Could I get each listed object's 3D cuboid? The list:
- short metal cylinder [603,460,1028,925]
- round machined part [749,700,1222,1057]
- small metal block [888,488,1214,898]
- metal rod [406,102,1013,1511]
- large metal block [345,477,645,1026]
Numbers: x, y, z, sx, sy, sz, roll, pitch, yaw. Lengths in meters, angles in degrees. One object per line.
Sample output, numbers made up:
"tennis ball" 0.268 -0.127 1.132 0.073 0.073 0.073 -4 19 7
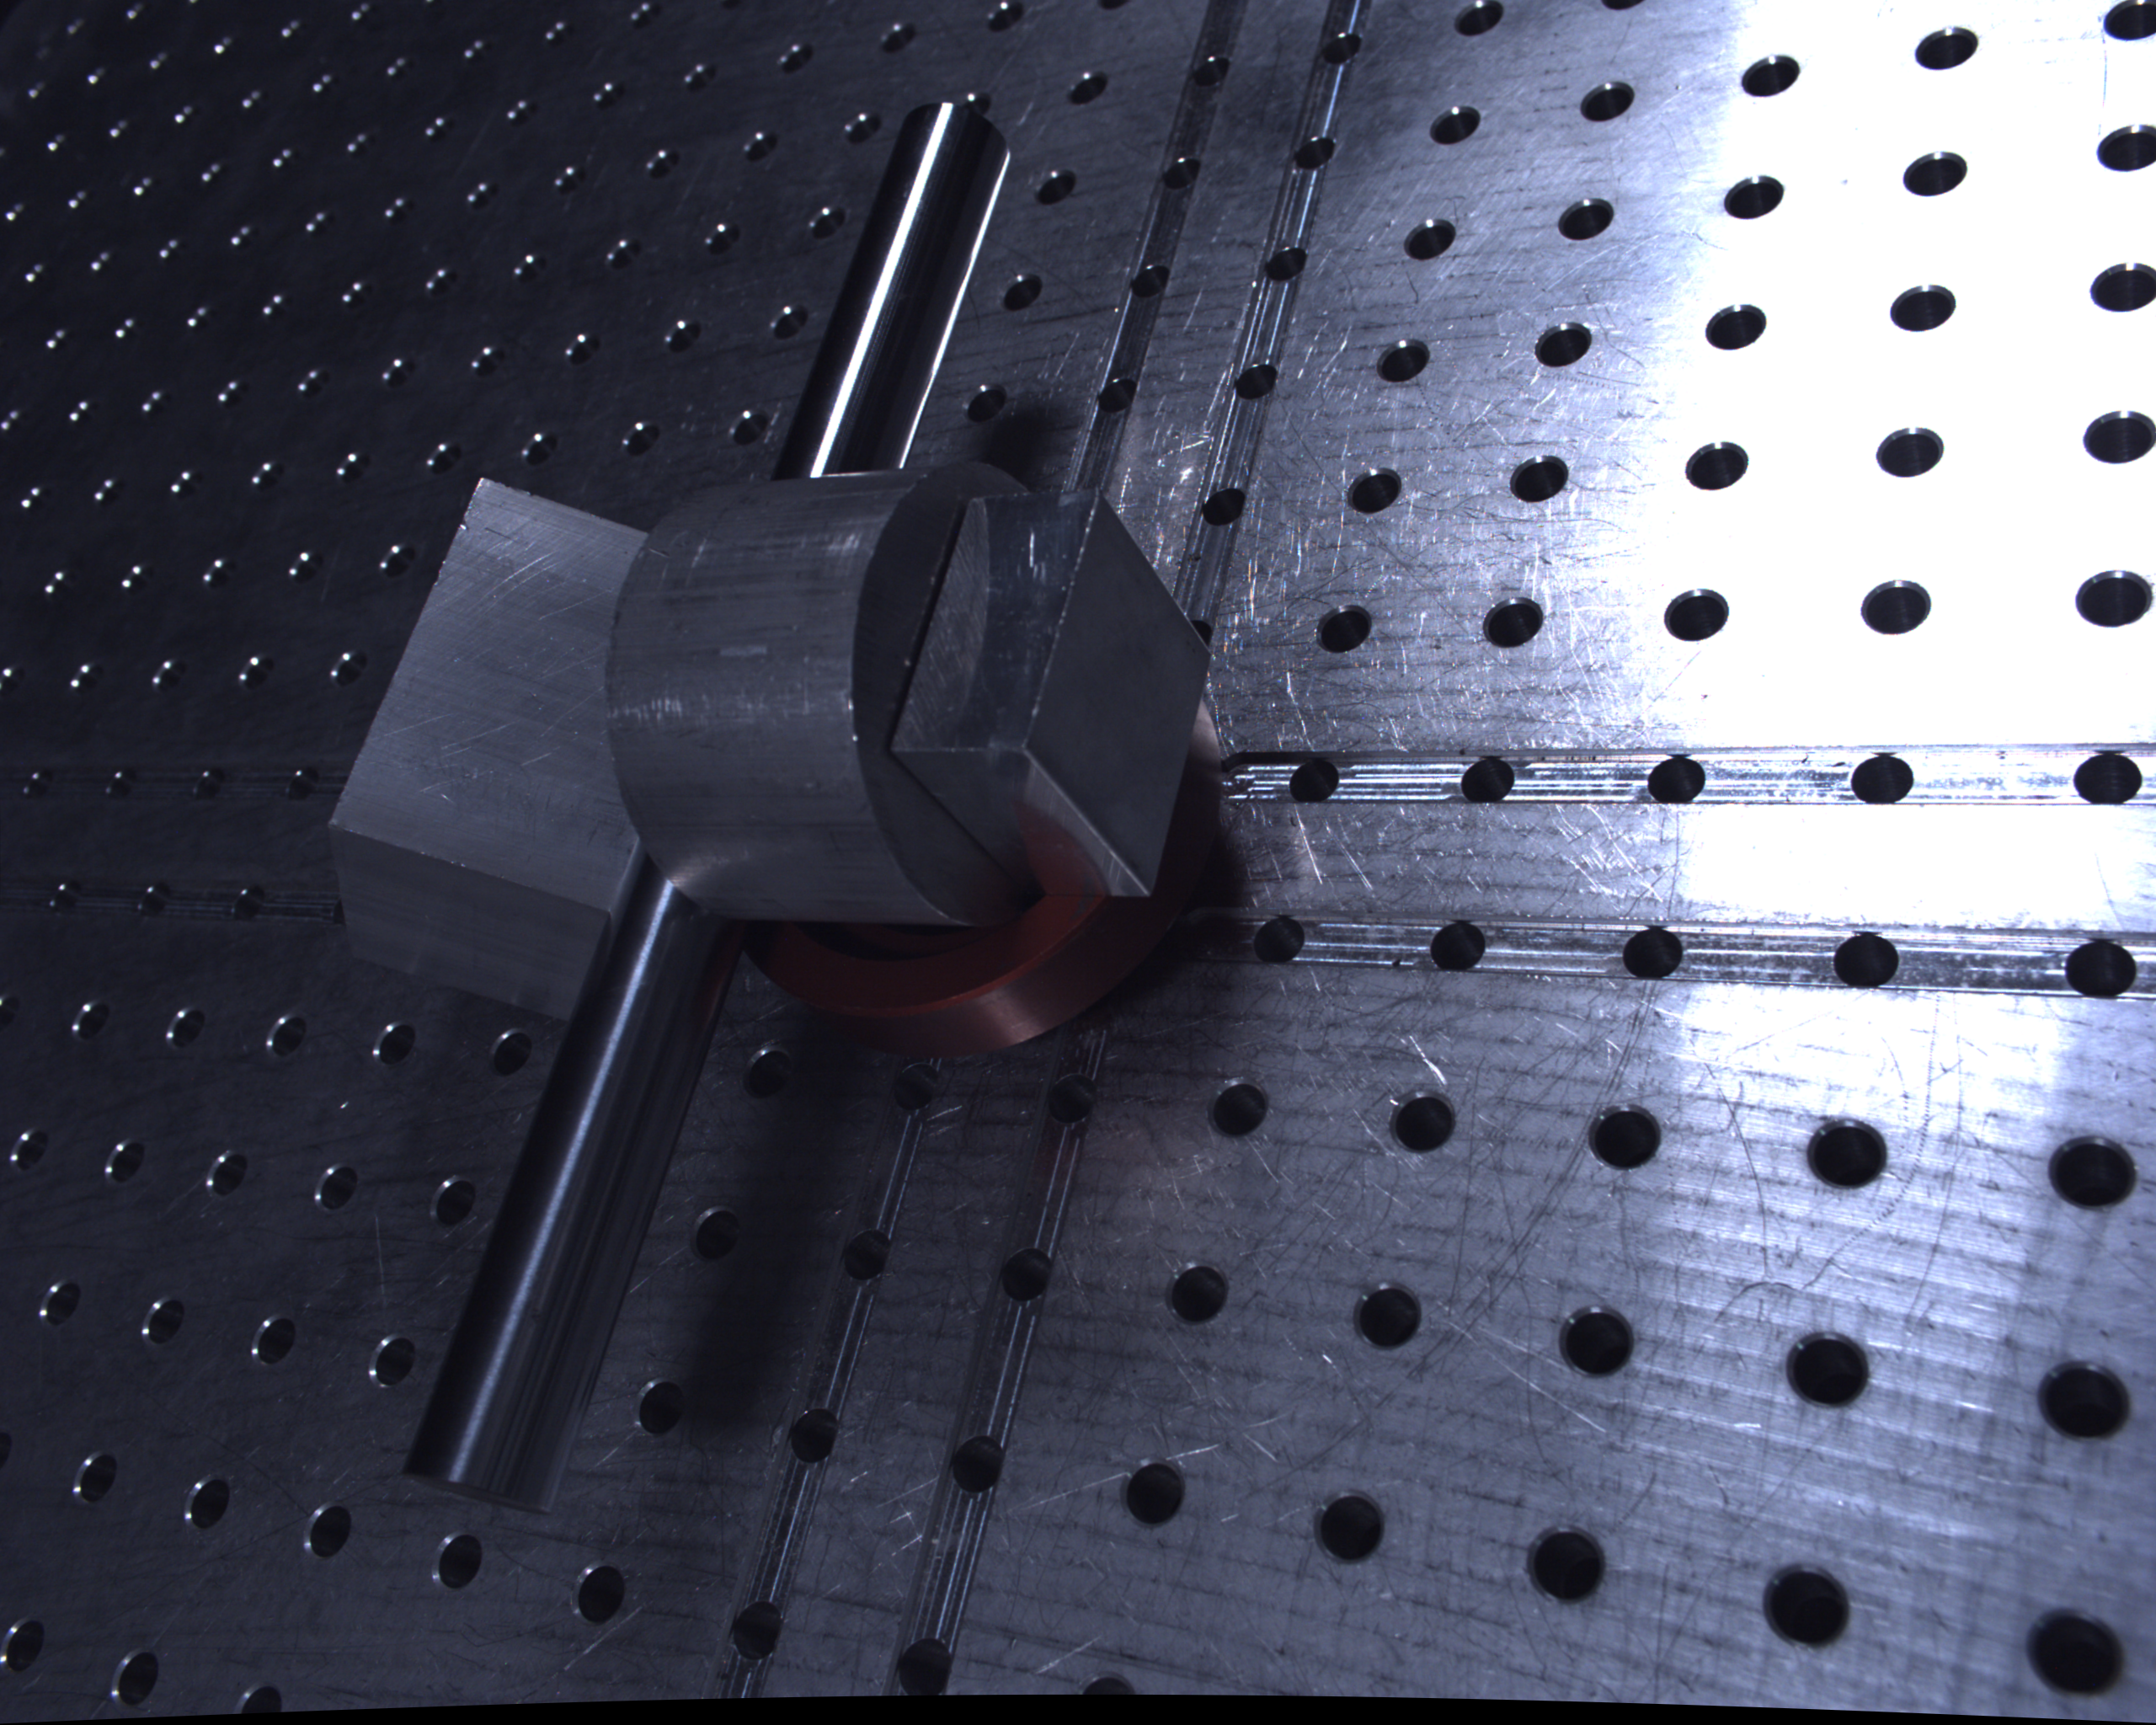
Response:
"short metal cylinder" -0.038 -0.029 0.371 0.050 0.080 0.080 1 62 28
"round machined part" -0.017 -0.007 0.408 0.098 0.042 0.098 -13 56 20
"small metal block" -0.003 -0.028 0.355 0.025 0.050 0.050 1 63 28
"metal rod" -0.062 -0.029 0.404 0.025 0.025 0.300 1 62 28
"large metal block" -0.110 -0.019 0.433 0.050 0.080 0.080 19 65 -9
